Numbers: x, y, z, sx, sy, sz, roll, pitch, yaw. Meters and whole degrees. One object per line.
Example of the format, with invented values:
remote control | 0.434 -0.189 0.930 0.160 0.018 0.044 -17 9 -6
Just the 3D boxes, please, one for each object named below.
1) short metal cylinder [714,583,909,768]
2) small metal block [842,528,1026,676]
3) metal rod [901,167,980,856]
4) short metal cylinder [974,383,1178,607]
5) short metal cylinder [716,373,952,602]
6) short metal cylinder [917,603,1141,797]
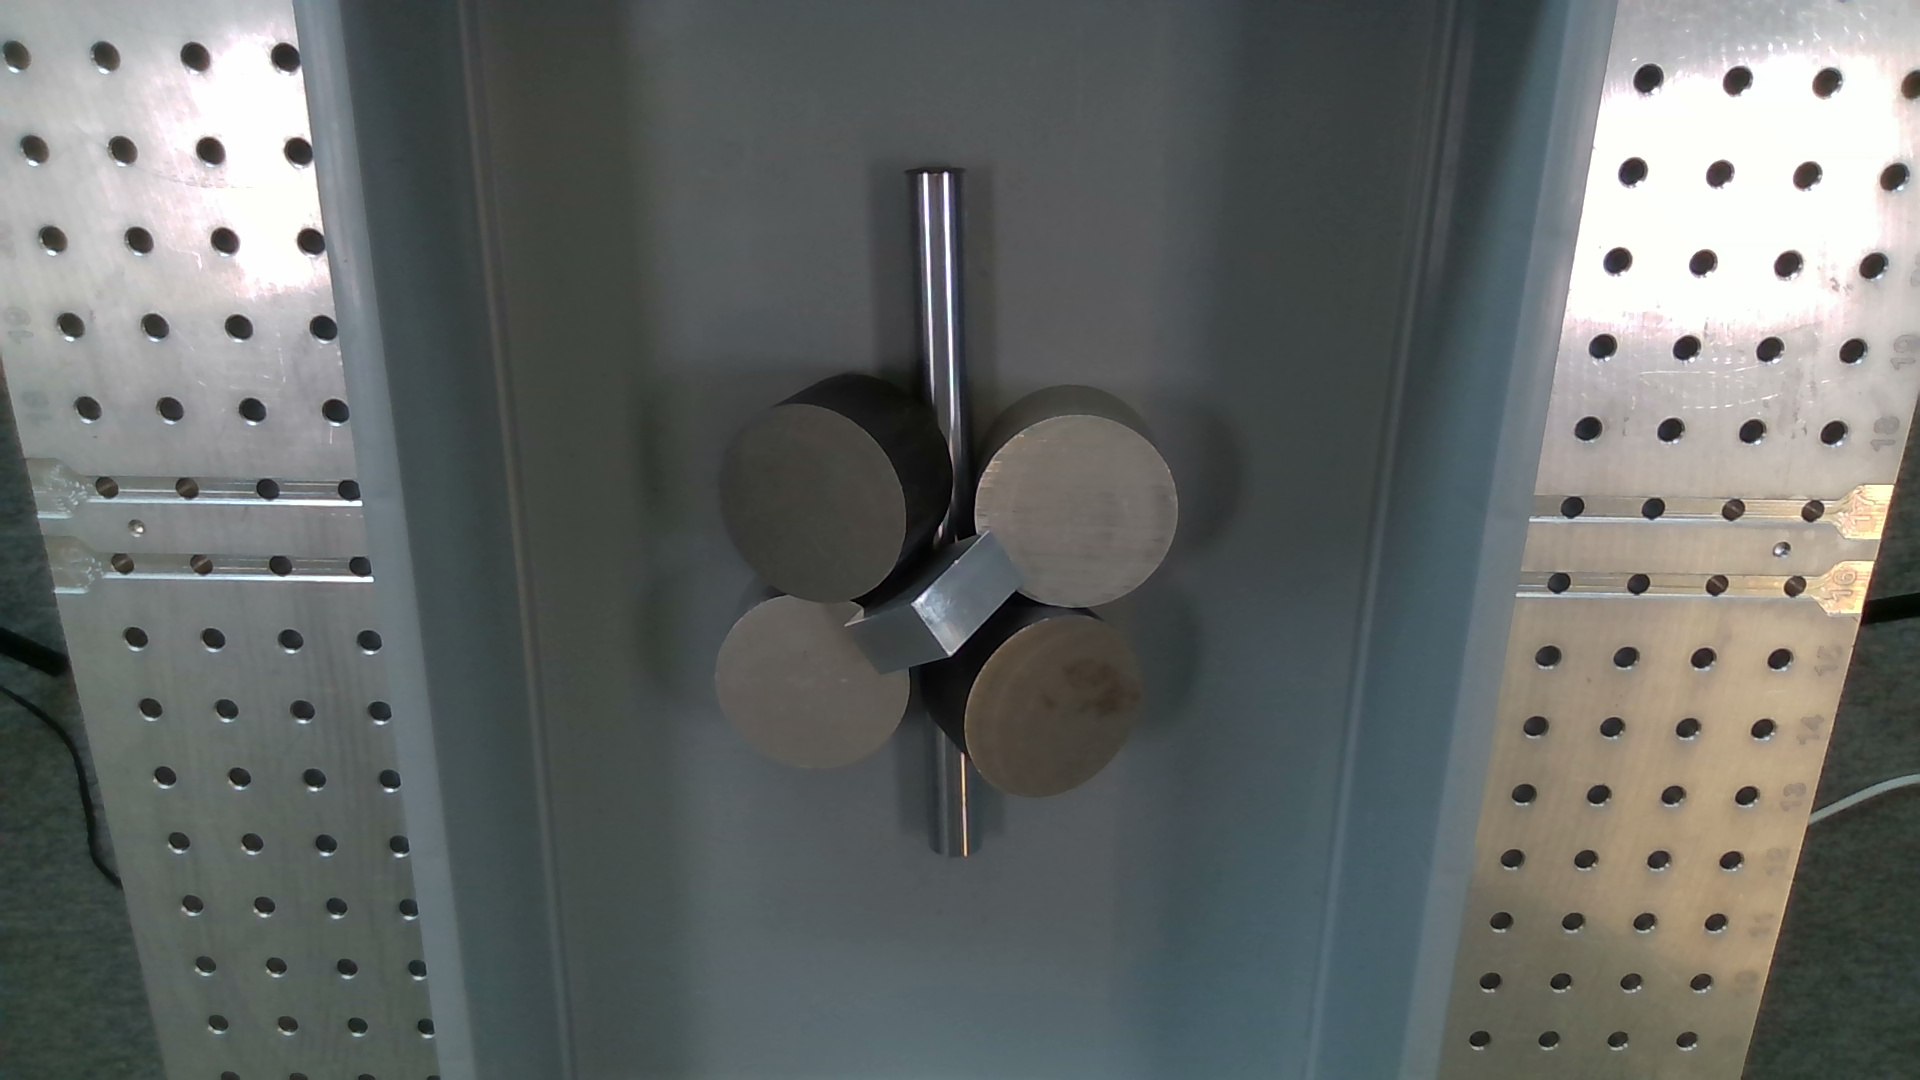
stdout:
short metal cylinder | -0.061 0.050 0.589 0.080 0.050 0.080 0 110 0
small metal block | -0.010 0.025 0.542 0.025 0.050 0.050 54 144 -11
metal rod | -0.006 -0.002 0.583 0.025 0.025 0.301 -1 110 1
short metal cylinder | 0.045 -0.019 0.563 0.080 0.050 0.080 0 110 0
short metal cylinder | -0.049 -0.022 0.549 0.080 0.050 0.080 8 112 19
short metal cylinder | 0.028 0.060 0.579 0.080 0.050 0.080 -8 111 -22
